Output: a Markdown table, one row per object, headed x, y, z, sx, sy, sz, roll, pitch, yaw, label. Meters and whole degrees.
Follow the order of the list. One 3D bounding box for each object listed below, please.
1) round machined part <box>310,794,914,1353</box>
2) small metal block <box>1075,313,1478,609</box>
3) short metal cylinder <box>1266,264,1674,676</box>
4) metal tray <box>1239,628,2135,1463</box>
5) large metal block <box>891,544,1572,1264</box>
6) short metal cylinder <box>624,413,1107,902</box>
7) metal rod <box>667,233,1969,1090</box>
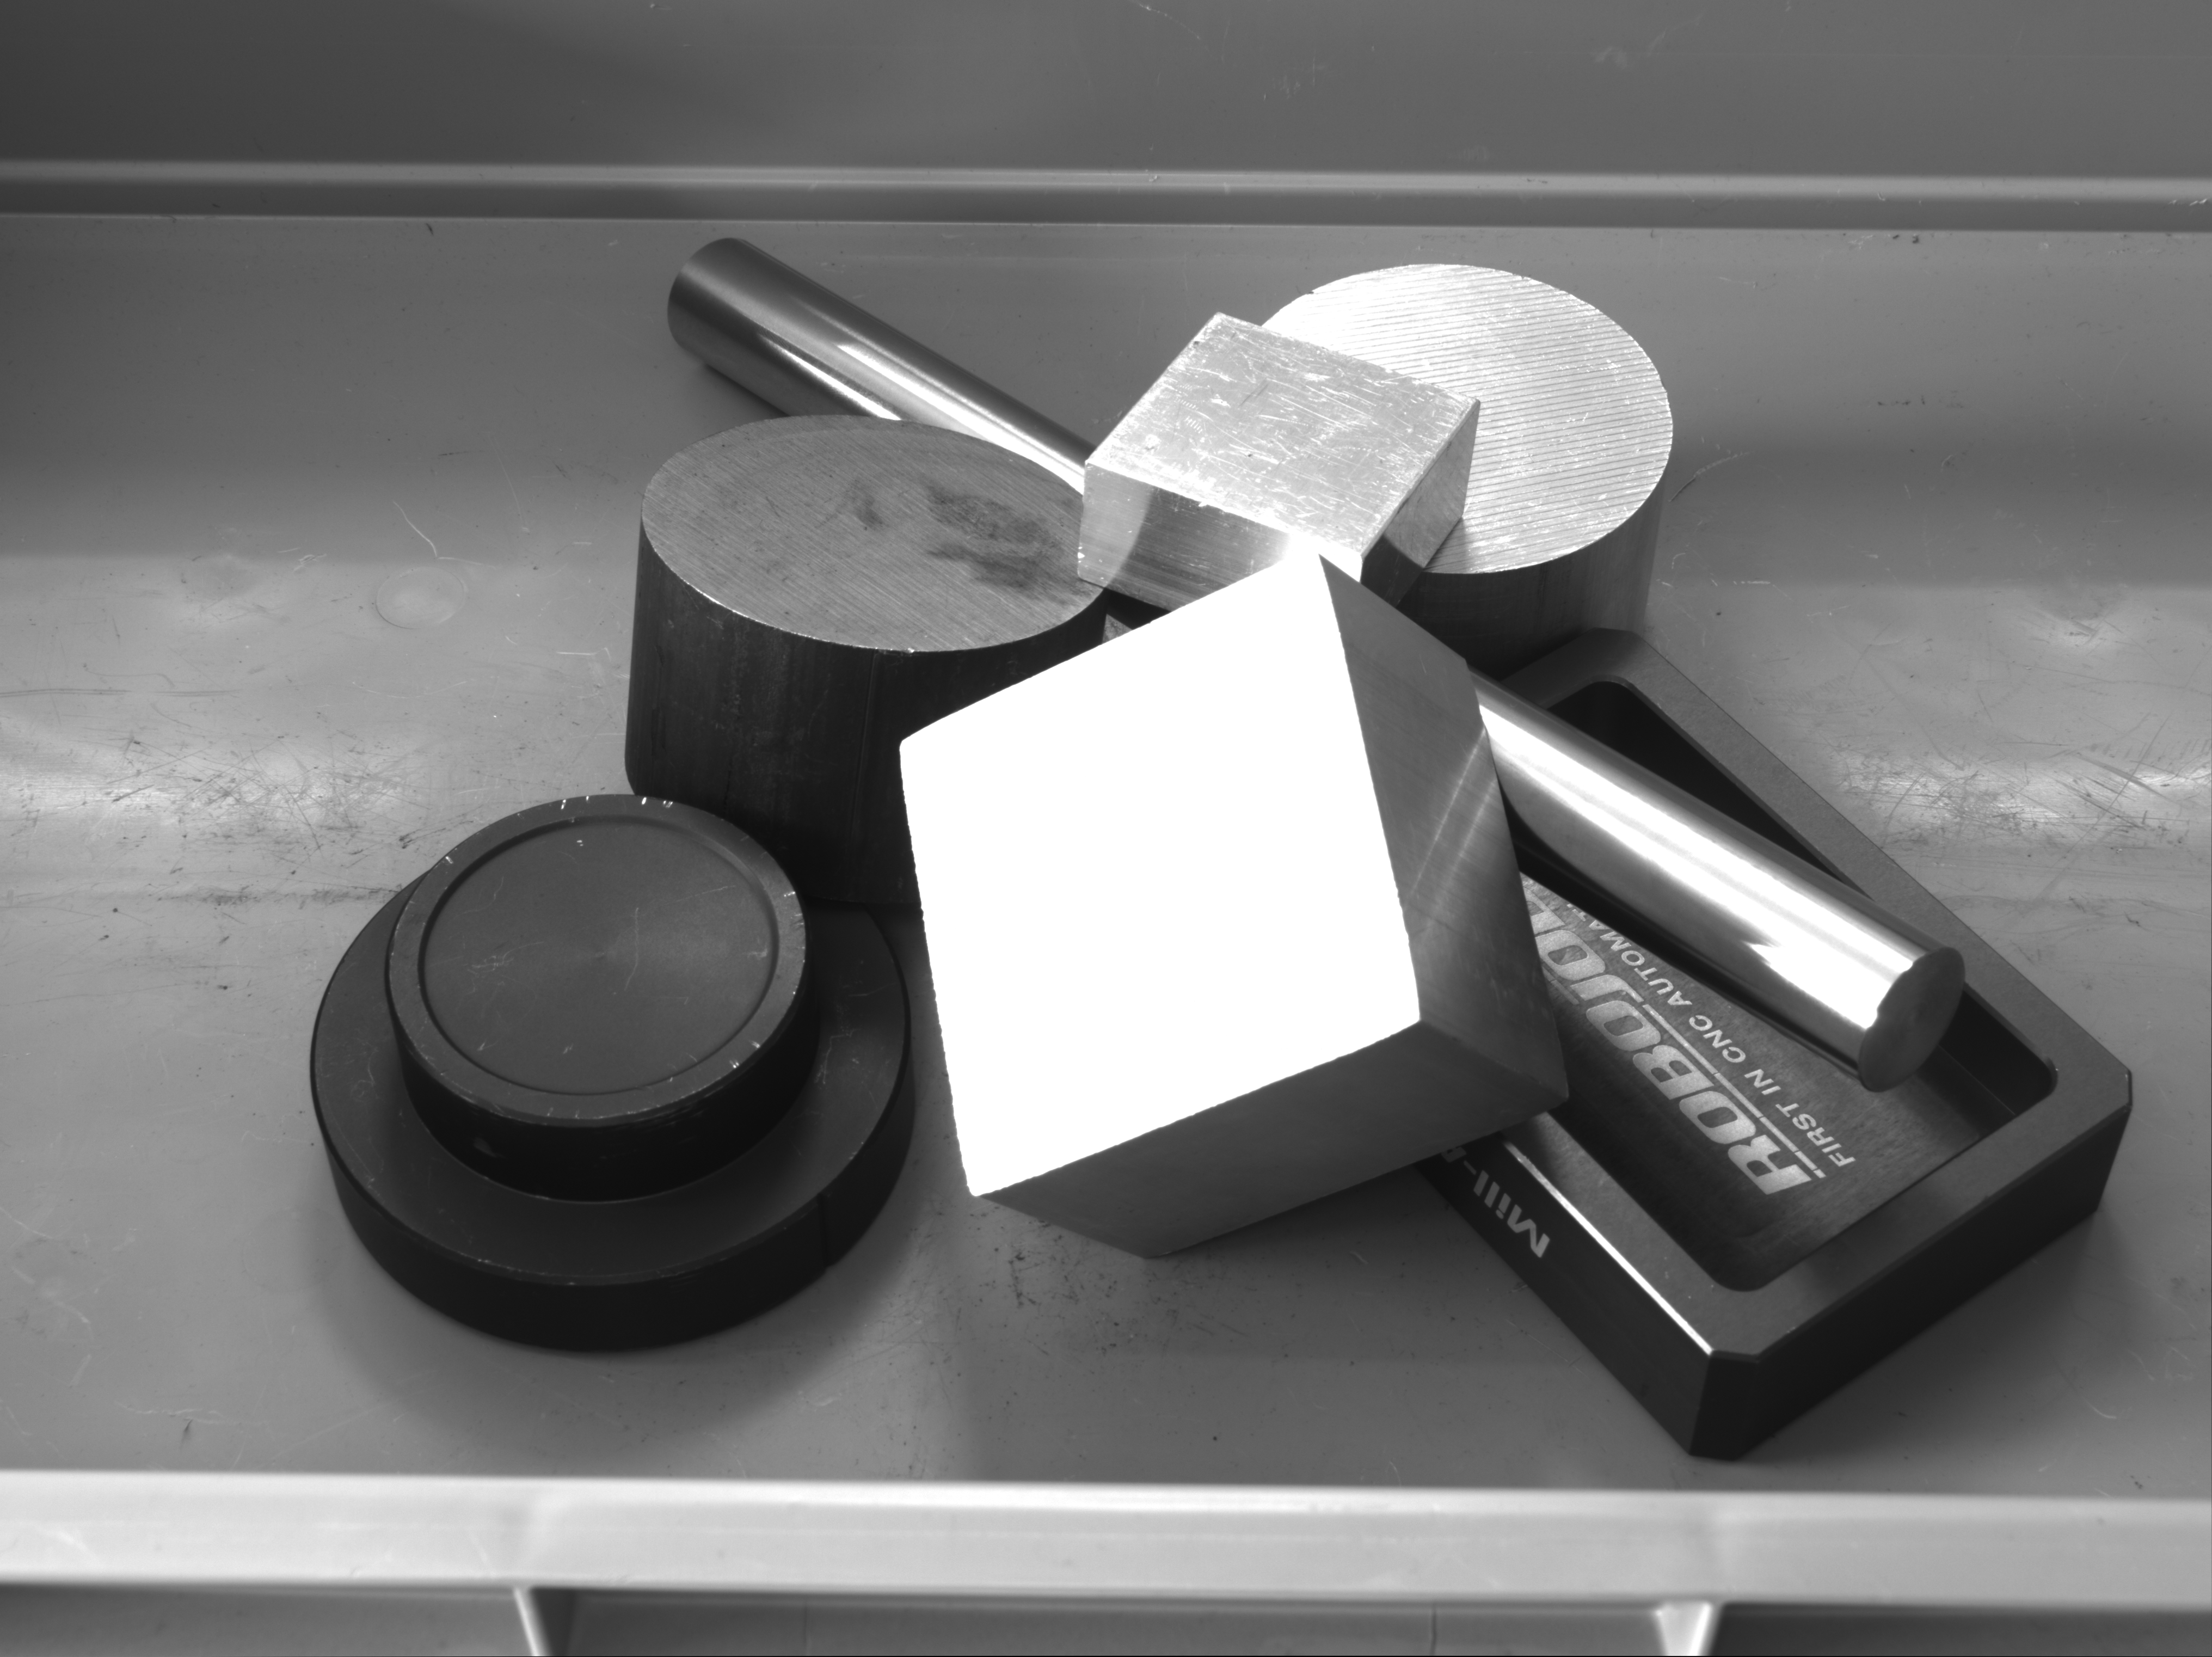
| x | y | z | sx | sy | sz | roll | pitch | yaw | label |
| --- | --- | --- | --- | --- | --- | --- | --- | --- | --- |
| -0.081 | 0.033 | 0.601 | 0.098 | 0.042 | 0.098 | 0 | 50 | 0 | round machined part |
| 0.029 | -0.057 | 0.620 | 0.050 | 0.025 | 0.050 | 21 | 45 | 17 | small metal block |
| 0.061 | -0.058 | 0.674 | 0.080 | 0.050 | 0.080 | 0 | 50 | 0 | short metal cylinder |
| 0.092 | 0.032 | 0.610 | 0.090 | 0.030 | 0.130 | -29 | 56 | -22 | metal tray |
| 0.018 | 0.014 | 0.579 | 0.080 | 0.050 | 0.080 | -23 | 62 | 25 | large metal block |
| -0.042 | -0.031 | 0.636 | 0.080 | 0.050 | 0.080 | 7 | 33 | -4 | short metal cylinder |
| 0.022 | -0.039 | 0.642 | 0.025 | 0.025 | 0.299 | -35 | 49 | -26 | metal rod |
